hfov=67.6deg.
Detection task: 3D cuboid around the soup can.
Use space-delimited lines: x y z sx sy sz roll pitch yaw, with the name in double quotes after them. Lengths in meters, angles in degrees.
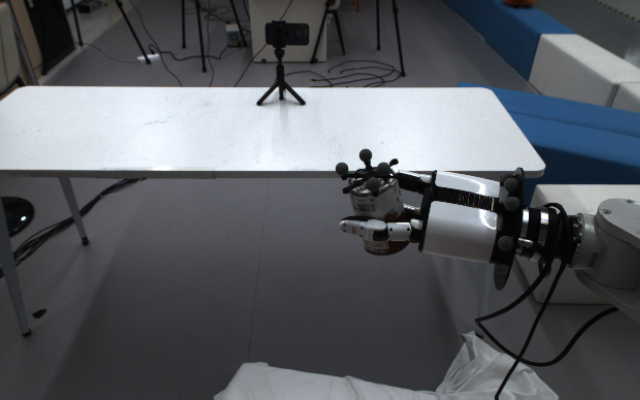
0.082 0.015 0.651 0.067 0.101 0.067 -13 31 8 "soup can"
